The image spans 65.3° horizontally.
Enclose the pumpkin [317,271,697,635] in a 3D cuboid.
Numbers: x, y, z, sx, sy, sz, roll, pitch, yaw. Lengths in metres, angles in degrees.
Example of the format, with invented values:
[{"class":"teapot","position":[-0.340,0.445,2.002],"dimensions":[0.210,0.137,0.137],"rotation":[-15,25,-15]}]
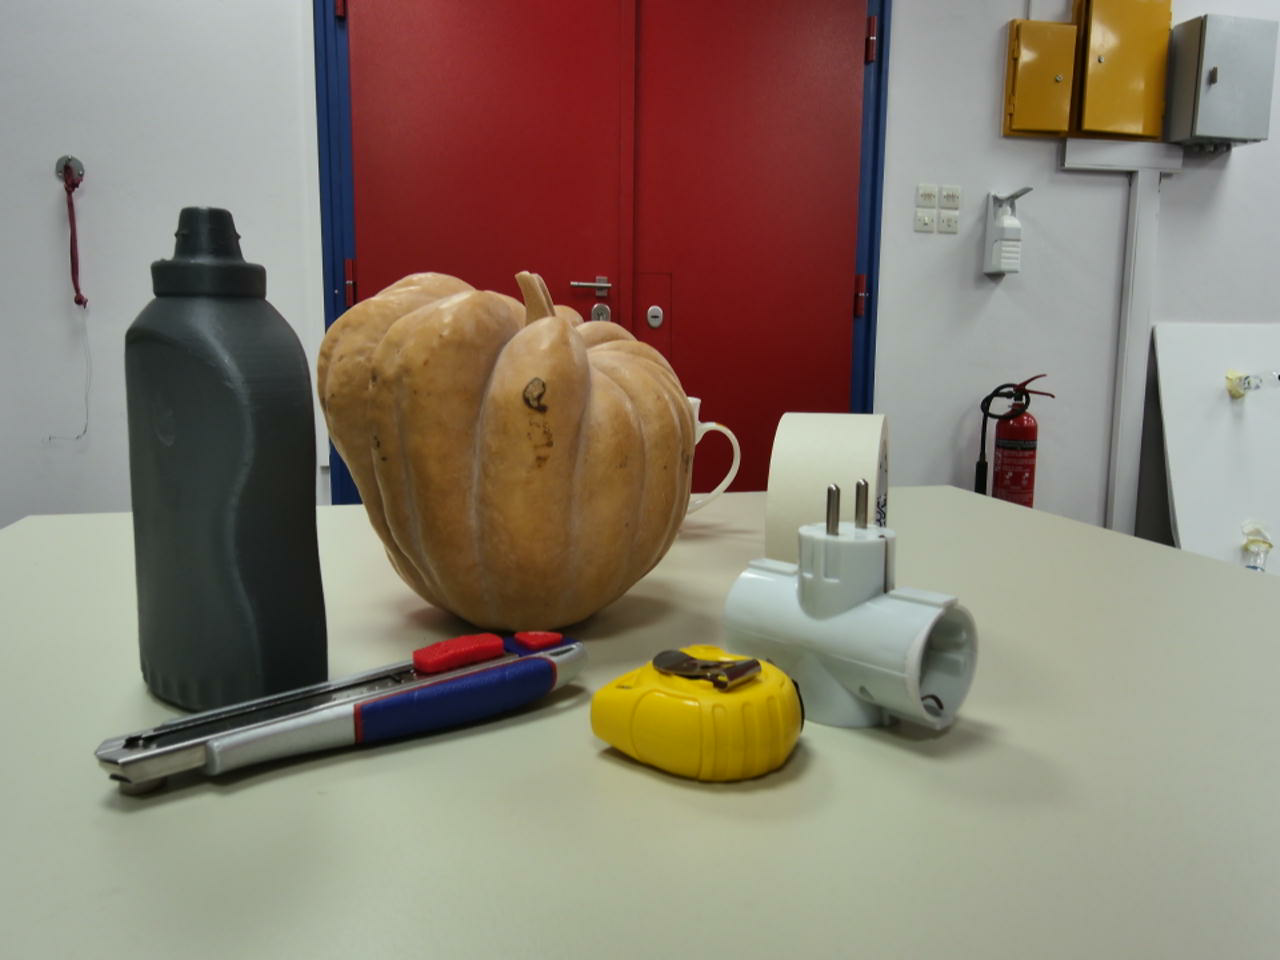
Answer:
[{"class":"pumpkin","position":[-0.064,-0.016,0.507],"dimensions":[0.199,0.177,0.198],"rotation":[0,7,0]}]
